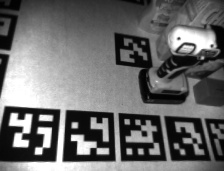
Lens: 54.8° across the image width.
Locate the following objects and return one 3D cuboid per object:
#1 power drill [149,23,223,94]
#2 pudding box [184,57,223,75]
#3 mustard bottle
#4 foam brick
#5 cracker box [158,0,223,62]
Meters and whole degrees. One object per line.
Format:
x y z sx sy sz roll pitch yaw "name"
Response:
0.170 -0.046 0.440 0.186 0.186 0.057 4 61 -17 "power drill"
0.210 -0.067 0.543 0.114 0.090 0.038 4 62 -13 "pudding box"
0.142 -0.230 0.543 0.096 0.191 0.058 16 62 -9 "mustard bottle"
0.259 0.009 0.560 0.078 0.051 0.052 7 65 -15 "foam brick"
0.230 -0.133 0.519 0.165 0.213 0.071 2 63 -14 "cracker box"
